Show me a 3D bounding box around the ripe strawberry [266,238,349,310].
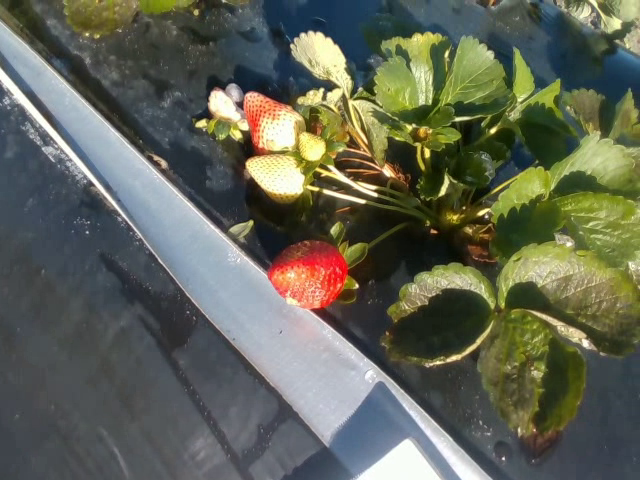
[{"bbox_3d":[-0.009,0.014,0.259,0.036,0.038,0.045,48,16,25],"label":"ripe strawberry"}]
